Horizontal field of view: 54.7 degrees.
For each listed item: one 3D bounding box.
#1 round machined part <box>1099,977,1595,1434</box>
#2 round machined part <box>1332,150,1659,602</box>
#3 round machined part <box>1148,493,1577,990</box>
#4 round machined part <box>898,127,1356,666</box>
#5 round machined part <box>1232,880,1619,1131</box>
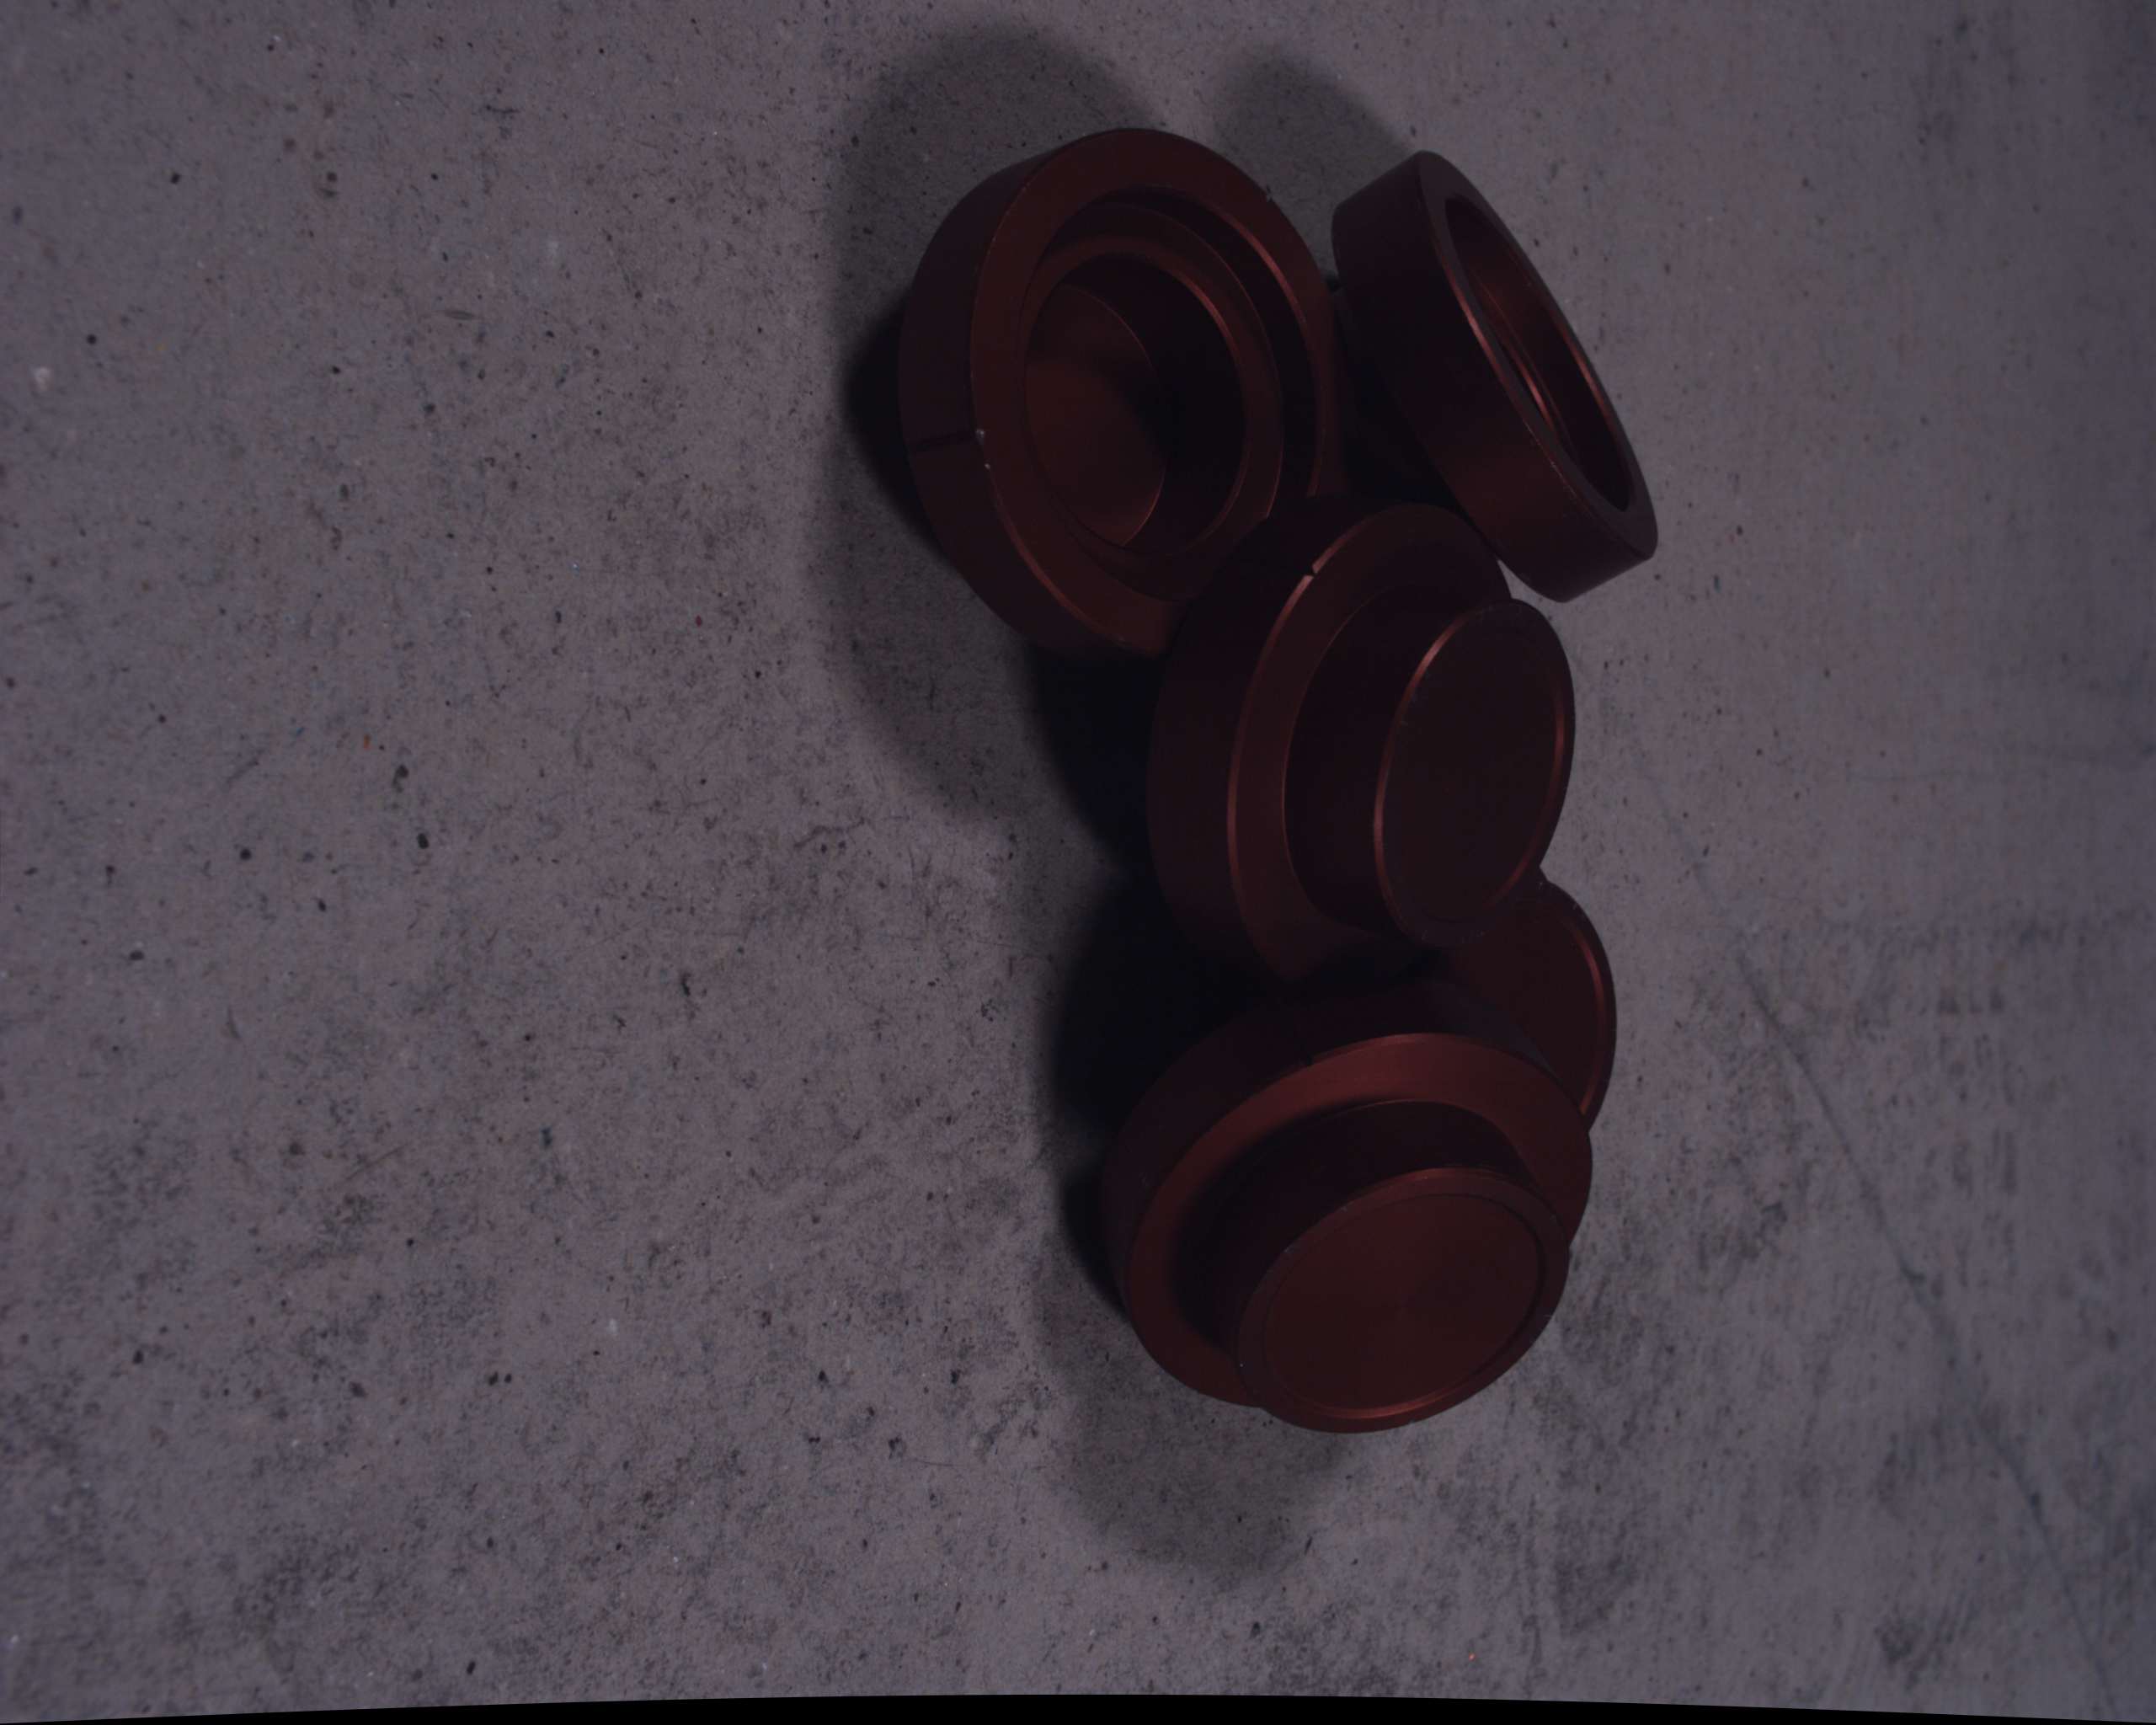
[{"bbox_3d":[0.057,0.074,0.412,0.099,0.042,0.097,-8,124,-12],"label":"round machined part"},{"bbox_3d":[0.082,-0.099,0.448,0.098,0.042,0.098,40,35,-35],"label":"round machined part"},{"bbox_3d":[0.061,-0.021,0.406,0.099,0.042,0.097,-17,113,-45],"label":"round machined part"},{"bbox_3d":[0.005,-0.086,0.401,0.099,0.042,0.097,0,90,-40],"label":"round machined part"},{"bbox_3d":[0.084,0.037,0.468,0.099,0.042,0.097,0,90,-40],"label":"round machined part"}]
